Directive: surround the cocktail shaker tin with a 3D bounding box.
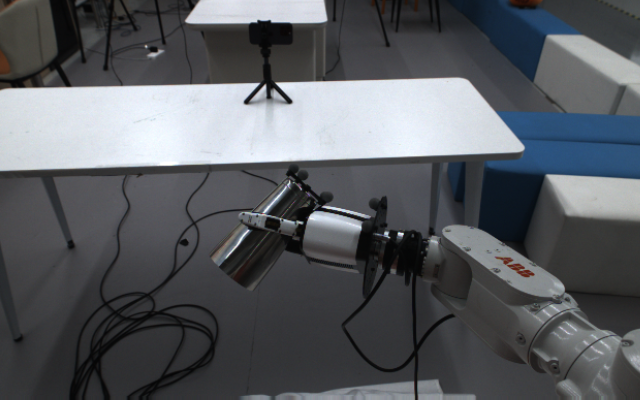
[{"bbox_3d":[-0.083,0.046,0.767,0.170,0.093,0.093,-48,49,-3],"label":"cocktail shaker tin"}]
